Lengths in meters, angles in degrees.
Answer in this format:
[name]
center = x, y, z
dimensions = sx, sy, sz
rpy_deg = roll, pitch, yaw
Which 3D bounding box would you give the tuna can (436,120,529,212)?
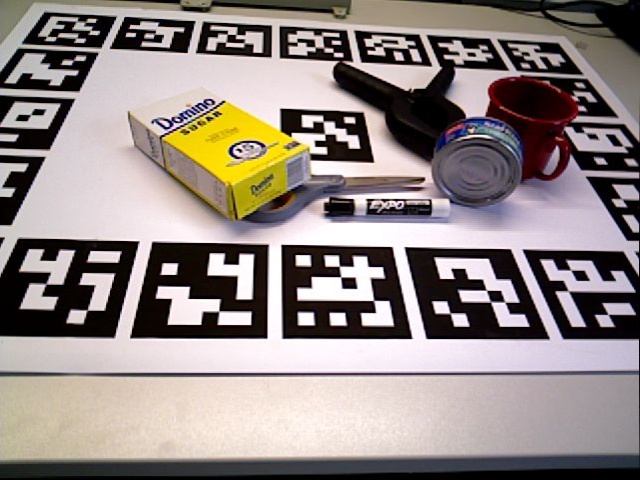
[tuna can]
center = 0.156, -0.069, 0.525
dimensions = 0.085, 0.088, 0.033
rpy_deg = 14, 46, 6

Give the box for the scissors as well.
[scissors]
center = 0.007, -0.057, 0.539
dimensions = 0.200, 0.016, 0.086
rpy_deg = -5, 43, -14

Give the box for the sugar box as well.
[sugar box]
center = -0.098, -0.088, 0.534
dimensions = 0.091, 0.046, 0.176
rpy_deg = -28, 49, -30

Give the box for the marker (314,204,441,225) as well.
[marker]
center = 0.054, -0.025, 0.517
dimensions = 0.120, 0.020, 0.019
rpy_deg = -1, 47, -7

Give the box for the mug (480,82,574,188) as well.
[mug]
center = 0.212, -0.101, 0.570
dimensions = 0.091, 0.083, 0.116
rpy_deg = -19, 48, -24

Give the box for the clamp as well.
[clamp]
center = 0.114, -0.148, 0.645
dimensions = 0.163, 0.037, 0.200
rpy_deg = -6, 48, -13
